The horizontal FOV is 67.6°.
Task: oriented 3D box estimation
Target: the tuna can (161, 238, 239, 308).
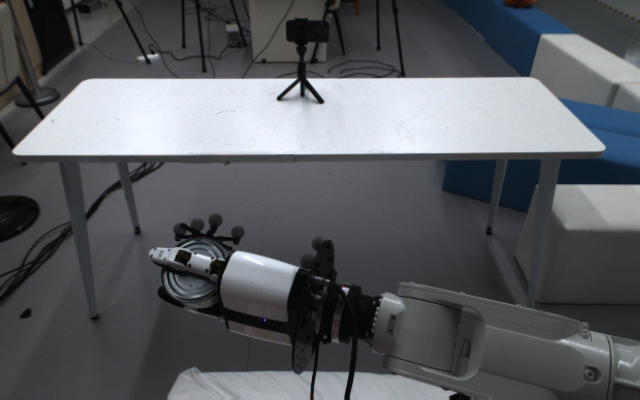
[{"bbox_3d":[-0.152,0.093,0.611,0.085,0.034,0.085,-3,62,6],"label":"tuna can"}]
